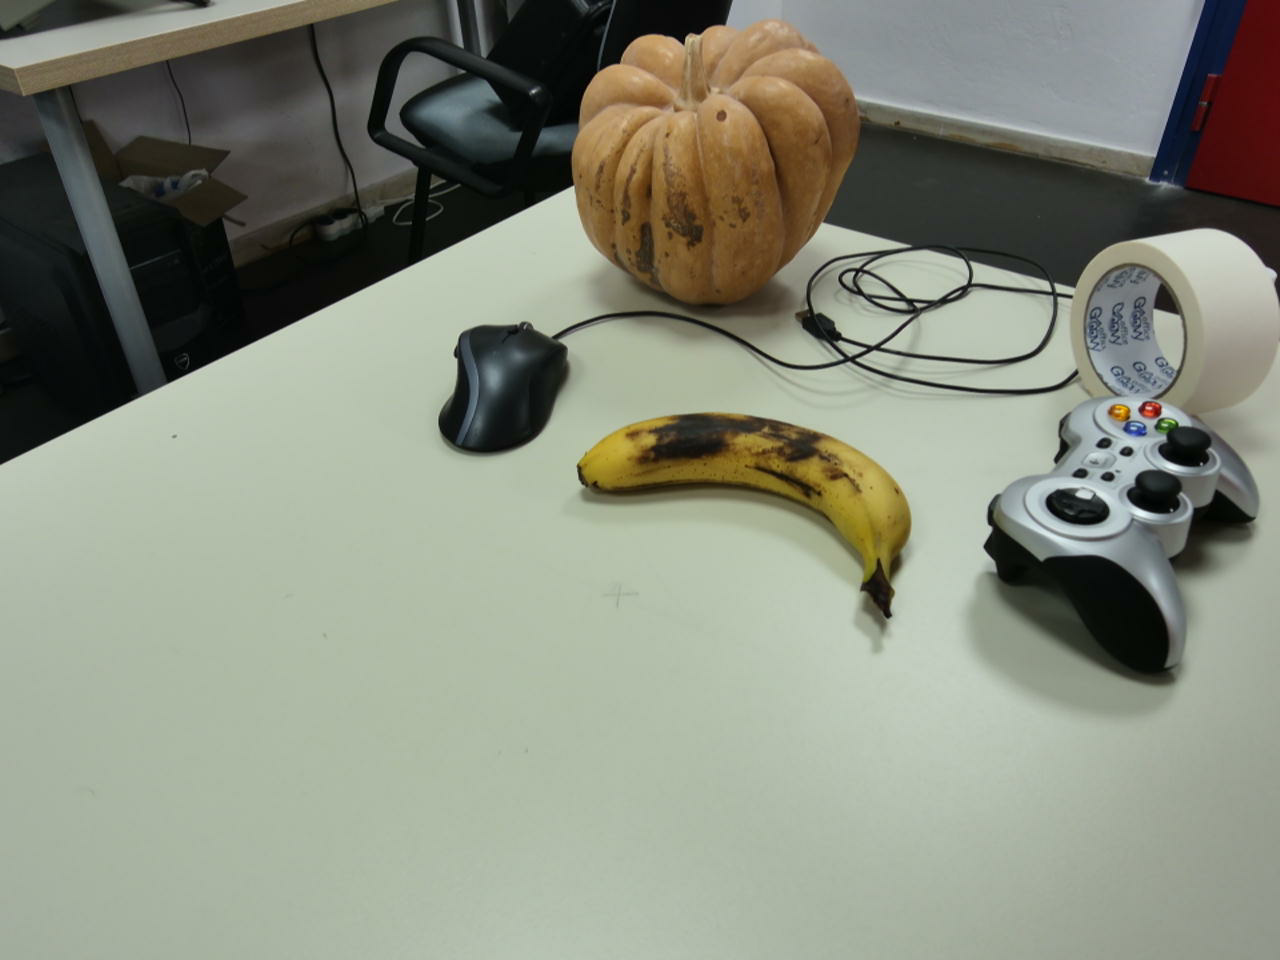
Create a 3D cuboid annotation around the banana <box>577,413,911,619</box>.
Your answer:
[{"bbox_3d":[0.064,0.002,0.525,0.187,0.039,0.094,24,43,29],"label":"banana"}]
